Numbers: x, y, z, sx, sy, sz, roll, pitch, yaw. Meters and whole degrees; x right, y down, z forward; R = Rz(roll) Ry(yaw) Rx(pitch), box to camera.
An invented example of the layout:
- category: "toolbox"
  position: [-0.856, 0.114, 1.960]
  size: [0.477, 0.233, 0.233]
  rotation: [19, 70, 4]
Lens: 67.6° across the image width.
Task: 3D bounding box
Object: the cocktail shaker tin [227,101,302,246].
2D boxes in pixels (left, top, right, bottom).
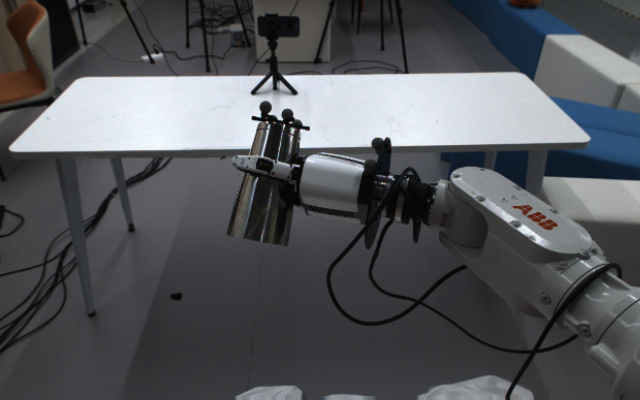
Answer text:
- category: "cocktail shaker tin"
  position: [-0.075, -0.024, 0.712]
  size: [0.093, 0.170, 0.093]
  rotation: [11, -5, 1]
